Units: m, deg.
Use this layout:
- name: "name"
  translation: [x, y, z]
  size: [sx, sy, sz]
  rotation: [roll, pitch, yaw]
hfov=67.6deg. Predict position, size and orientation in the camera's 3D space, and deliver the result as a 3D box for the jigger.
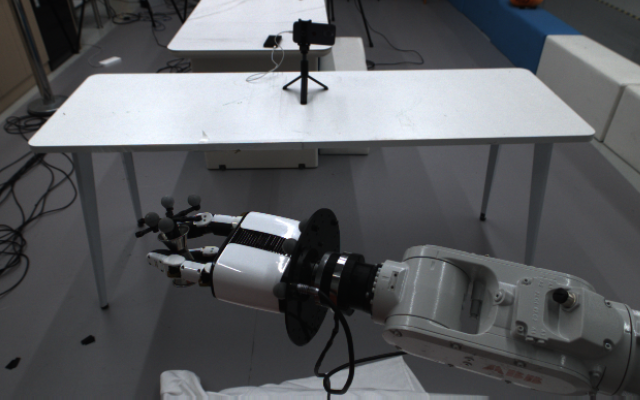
- name: "jigger"
  translation: [-0.173, 0.069, 0.620]
  size: [0.043, 0.071, 0.043]
  rotation: [-10, 24, 4]
